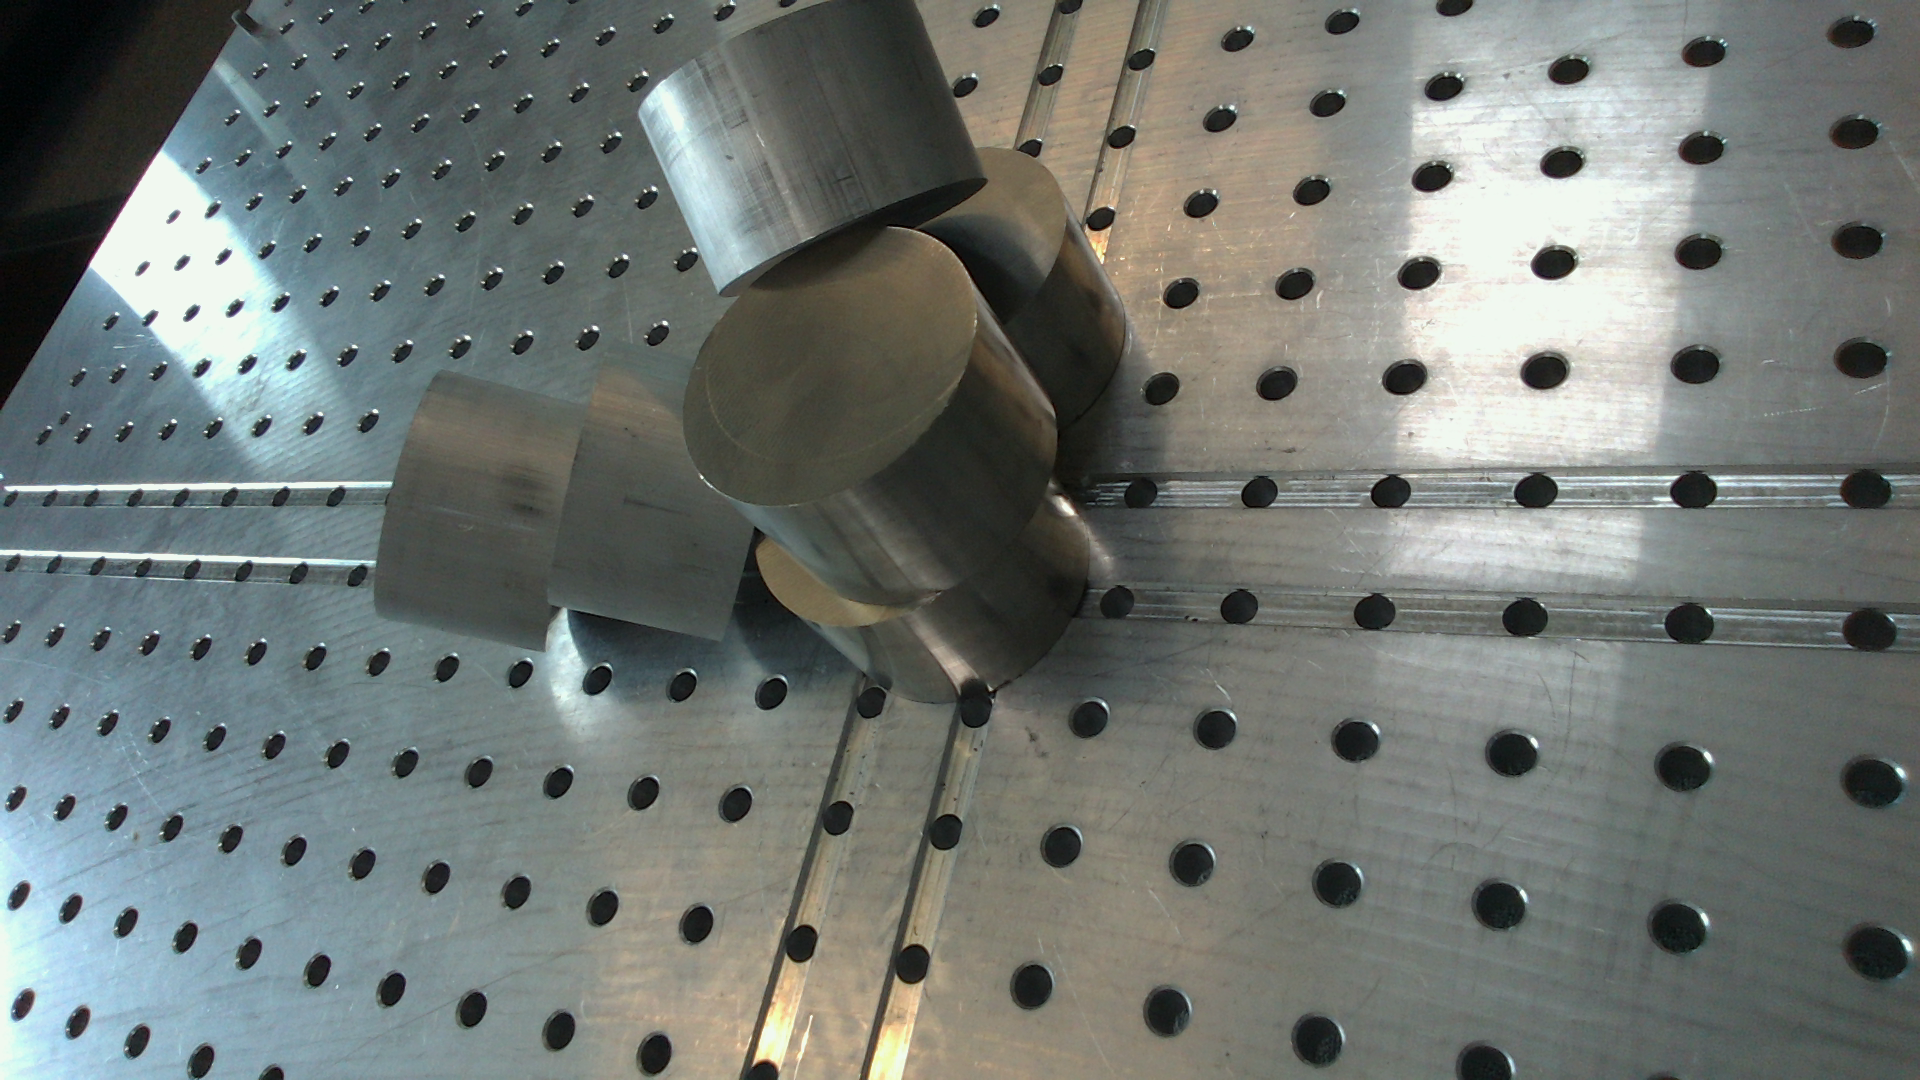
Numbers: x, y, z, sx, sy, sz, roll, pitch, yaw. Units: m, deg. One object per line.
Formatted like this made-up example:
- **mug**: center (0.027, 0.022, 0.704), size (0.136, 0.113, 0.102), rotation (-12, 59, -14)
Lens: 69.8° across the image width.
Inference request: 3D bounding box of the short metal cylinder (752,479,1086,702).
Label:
- **short metal cylinder**: center (-0.011, -0.001, 0.386), size (0.080, 0.050, 0.080), rotation (-14, 56, 21)

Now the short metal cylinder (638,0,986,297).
- **short metal cylinder**: center (-0.040, -0.105, 0.374), size (0.080, 0.080, 0.050), rotation (-22, 96, 15)

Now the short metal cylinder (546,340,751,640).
- **short metal cylinder**: center (-0.087, -0.015, 0.408), size (0.050, 0.080, 0.080), rotation (14, 61, -11)

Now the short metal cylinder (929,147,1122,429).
- **short metal cylinder**: center (0.004, -0.072, 0.423), size (0.080, 0.050, 0.080), rotation (-14, 56, 21)

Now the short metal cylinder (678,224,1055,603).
- **short metal cylinder**: center (-0.023, -0.031, 0.345), size (0.080, 0.050, 0.080), rotation (-14, 56, 21)

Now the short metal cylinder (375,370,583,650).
- **short metal cylinder**: center (-0.148, -0.009, 0.438), size (0.050, 0.080, 0.080), rotation (14, 61, -12)
